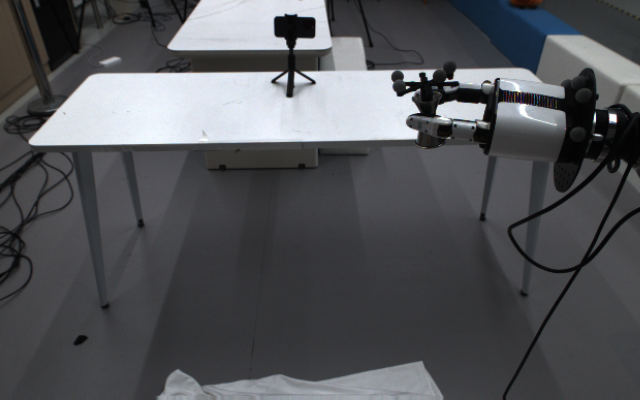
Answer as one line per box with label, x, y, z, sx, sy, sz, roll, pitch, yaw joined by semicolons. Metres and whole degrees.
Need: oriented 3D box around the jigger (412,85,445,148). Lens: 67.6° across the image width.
jigger;0.150;-0.111;0.669;0.043;0.071;0.043;-10;31;6
